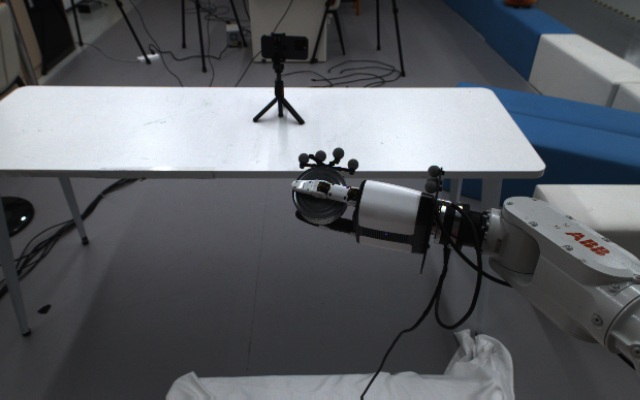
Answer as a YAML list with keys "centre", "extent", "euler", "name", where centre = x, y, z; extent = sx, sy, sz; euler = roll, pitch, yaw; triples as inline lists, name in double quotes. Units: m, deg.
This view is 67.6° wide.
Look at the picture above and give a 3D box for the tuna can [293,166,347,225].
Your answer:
- centre: [0.001, -0.008, 0.745]
  extent: [0.085, 0.034, 0.085]
  euler: [-3, 69, 7]
  name: "tuna can"
